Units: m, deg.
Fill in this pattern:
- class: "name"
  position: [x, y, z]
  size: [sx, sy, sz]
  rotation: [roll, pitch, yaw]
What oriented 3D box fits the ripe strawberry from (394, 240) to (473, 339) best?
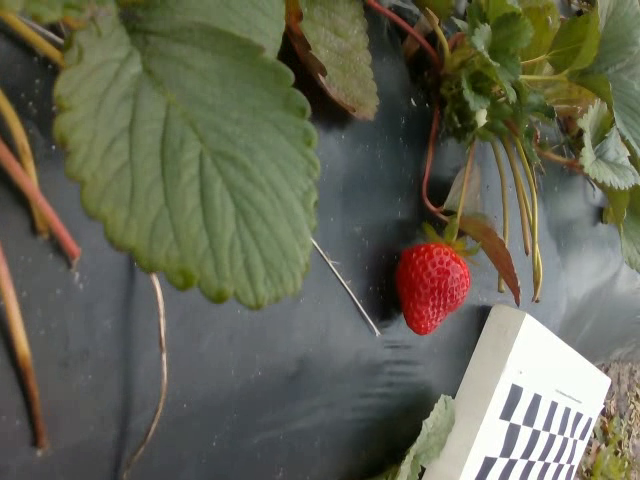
- class: "ripe strawberry"
  position: [0.035, 0.016, 0.186]
  size: [0.023, 0.033, 0.029]
  rotation: [13, -25, 42]
